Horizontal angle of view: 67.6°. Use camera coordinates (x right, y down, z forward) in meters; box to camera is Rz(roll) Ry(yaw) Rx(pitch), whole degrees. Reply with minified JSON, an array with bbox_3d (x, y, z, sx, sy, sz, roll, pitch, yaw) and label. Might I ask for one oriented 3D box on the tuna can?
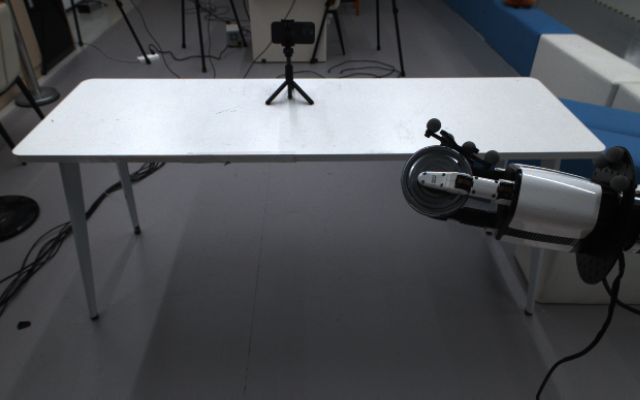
[{"bbox_3d":[0.145,-0.024,0.592,0.085,0.085,0.034,13,-4,15],"label":"tuna can"}]
